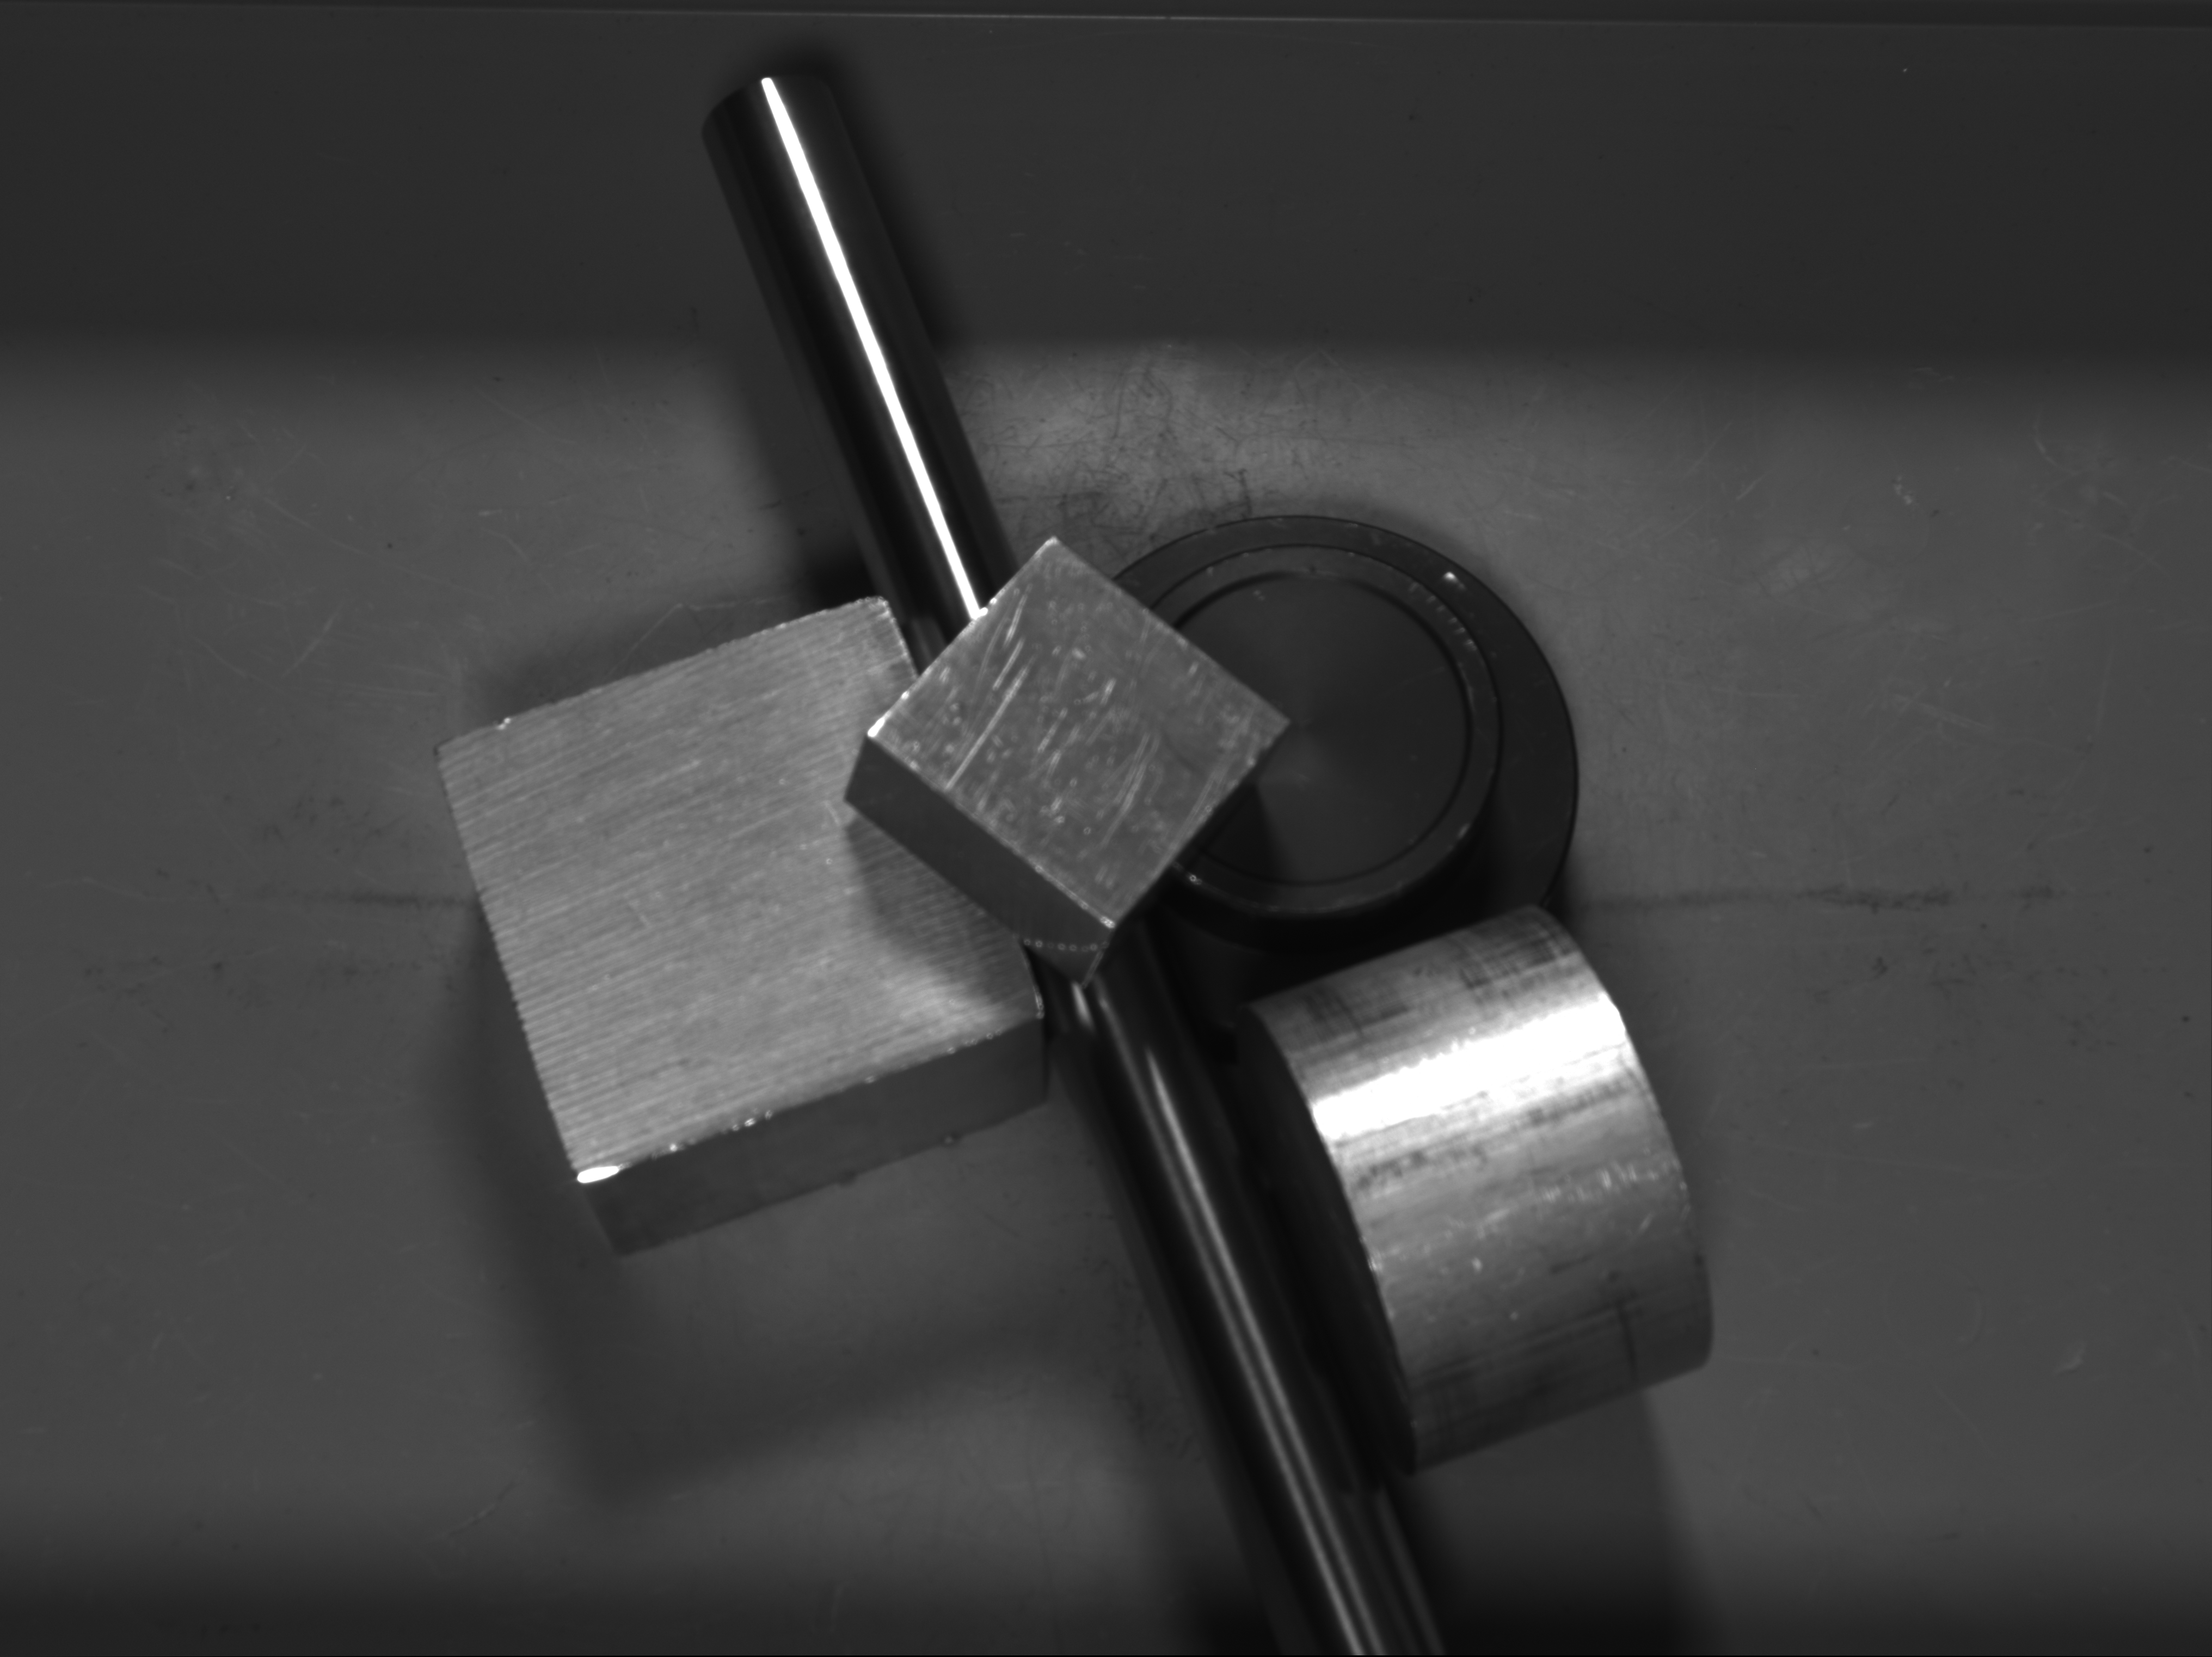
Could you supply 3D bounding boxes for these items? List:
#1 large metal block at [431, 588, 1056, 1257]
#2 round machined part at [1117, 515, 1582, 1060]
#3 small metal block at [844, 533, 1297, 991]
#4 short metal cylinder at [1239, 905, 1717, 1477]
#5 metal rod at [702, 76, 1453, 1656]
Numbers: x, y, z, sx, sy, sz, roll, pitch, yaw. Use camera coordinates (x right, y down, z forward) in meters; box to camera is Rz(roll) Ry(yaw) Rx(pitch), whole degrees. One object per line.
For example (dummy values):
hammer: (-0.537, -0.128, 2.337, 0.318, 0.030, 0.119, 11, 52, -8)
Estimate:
large metal block: (-0.060, 0.016, 0.622, 0.080, 0.050, 0.080, -19, 71, -7)
round machined part: (0.034, -0.011, 0.638, 0.098, 0.042, 0.098, 0, 70, 0)
small metal block: (-0.006, -0.011, 0.596, 0.050, 0.025, 0.050, 38, 63, 6)
short metal cylinder: (0.059, 0.058, 0.593, 0.050, 0.080, 0.080, -19, 71, -7)
metal rod: (-0.010, 0.002, 0.621, 0.025, 0.025, 0.300, -19, 71, -7)
